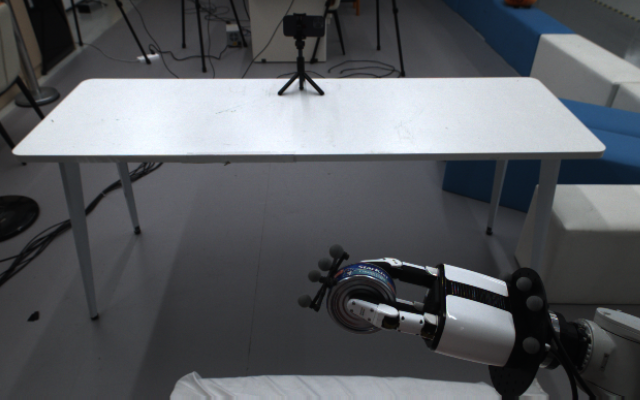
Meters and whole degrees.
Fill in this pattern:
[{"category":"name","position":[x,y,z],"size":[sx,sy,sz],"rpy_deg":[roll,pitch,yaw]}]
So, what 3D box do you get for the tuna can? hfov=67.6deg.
[{"category":"tuna can","position":[0.055,0.120,0.598],"size":[0.085,0.085,0.034],"rpy_deg":[3,20,1]}]
